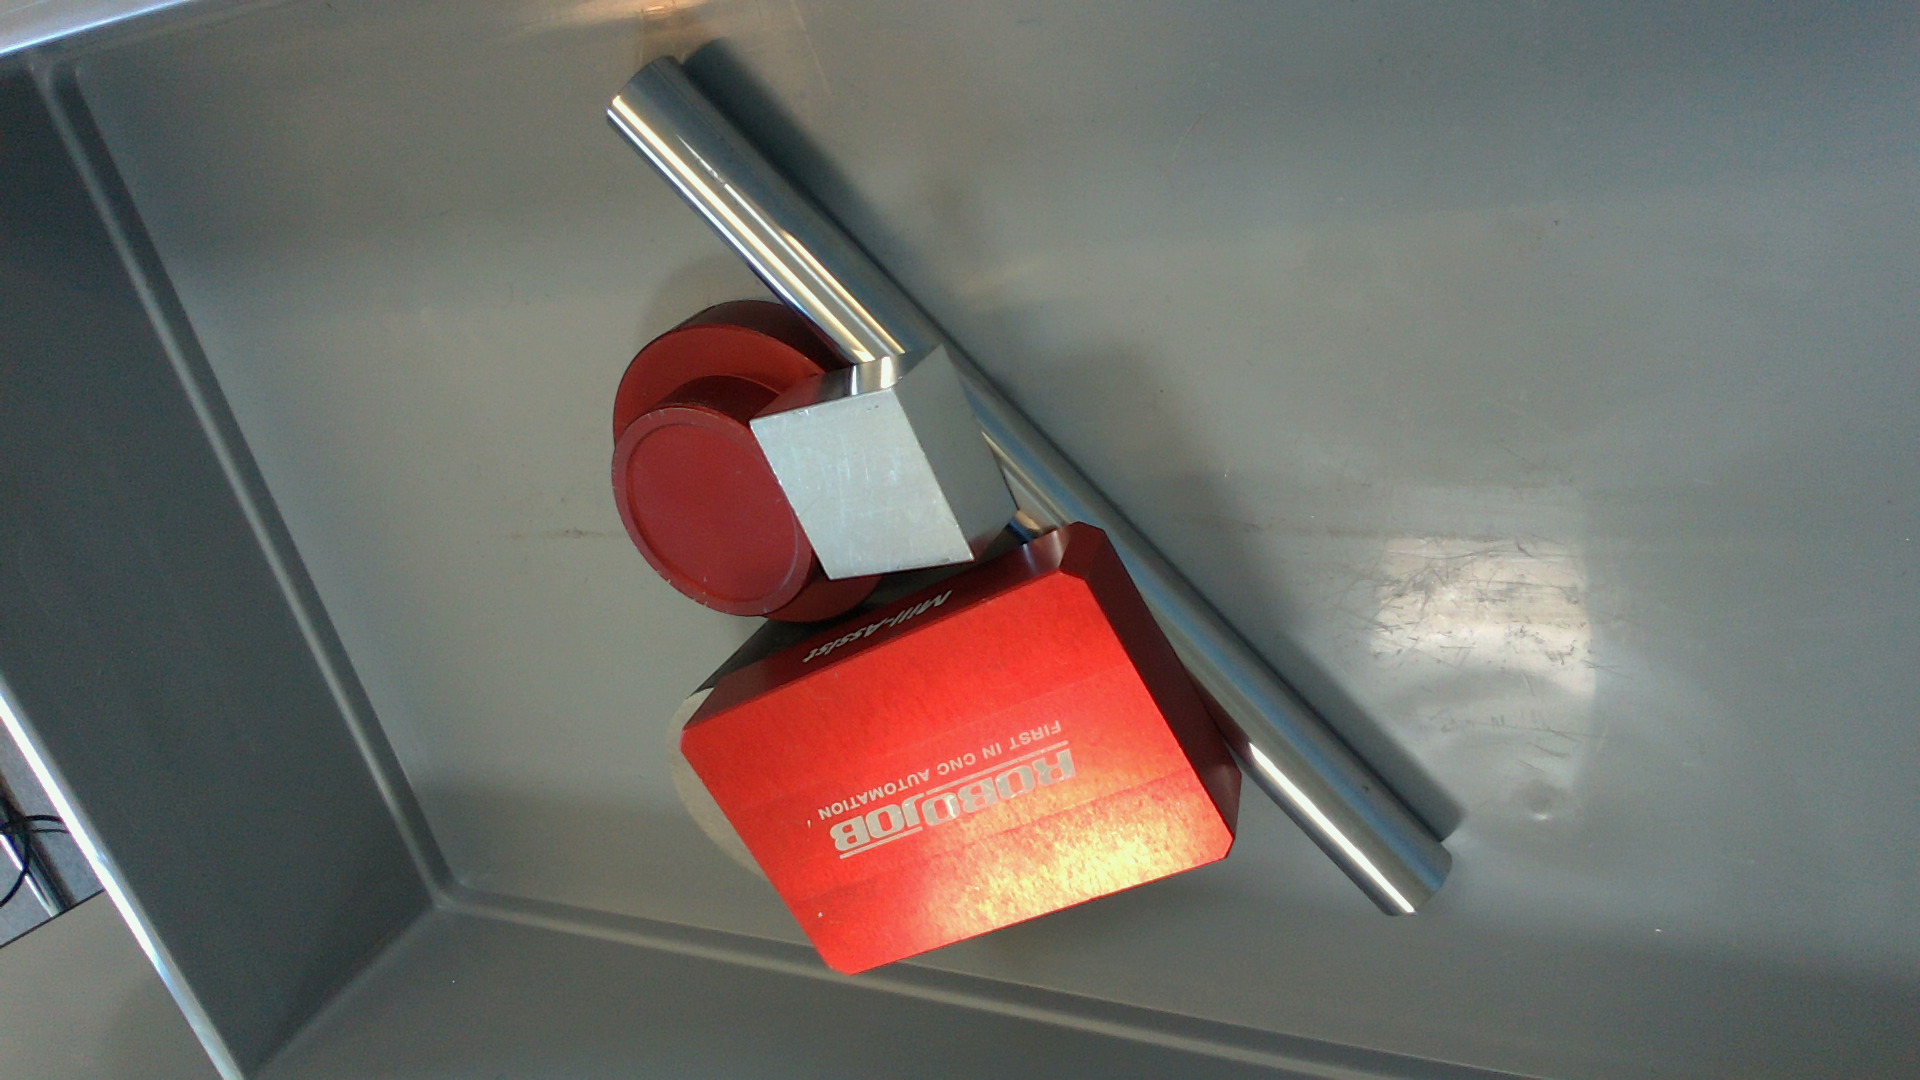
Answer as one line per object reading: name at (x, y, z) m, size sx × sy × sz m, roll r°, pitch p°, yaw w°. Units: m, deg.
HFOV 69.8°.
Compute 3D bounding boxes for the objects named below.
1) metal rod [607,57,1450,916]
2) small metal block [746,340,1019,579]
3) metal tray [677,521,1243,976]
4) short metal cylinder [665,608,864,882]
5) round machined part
metal rod at (0.021, -0.011, 0.373) m, size 0.300 × 0.025 × 0.025 m, roll 45°, pitch 129°, yaw -4°
small metal block at (-0.020, -0.020, 0.359) m, size 0.050 × 0.025 × 0.050 m, roll -8°, pitch 117°, yaw 37°
metal tray at (-0.001, 0.061, 0.376) m, size 0.130 × 0.030 × 0.090 m, roll -24°, pitch 106°, yaw 23°
short metal cylinder at (-0.046, 0.066, 0.441) m, size 0.080 × 0.050 × 0.080 m, roll 13°, pitch 124°, yaw 21°
round machined part at (-0.063, -0.017, 0.402) m, size 0.098 × 0.042 × 0.098 m, roll 14°, pitch 125°, yaw 22°
